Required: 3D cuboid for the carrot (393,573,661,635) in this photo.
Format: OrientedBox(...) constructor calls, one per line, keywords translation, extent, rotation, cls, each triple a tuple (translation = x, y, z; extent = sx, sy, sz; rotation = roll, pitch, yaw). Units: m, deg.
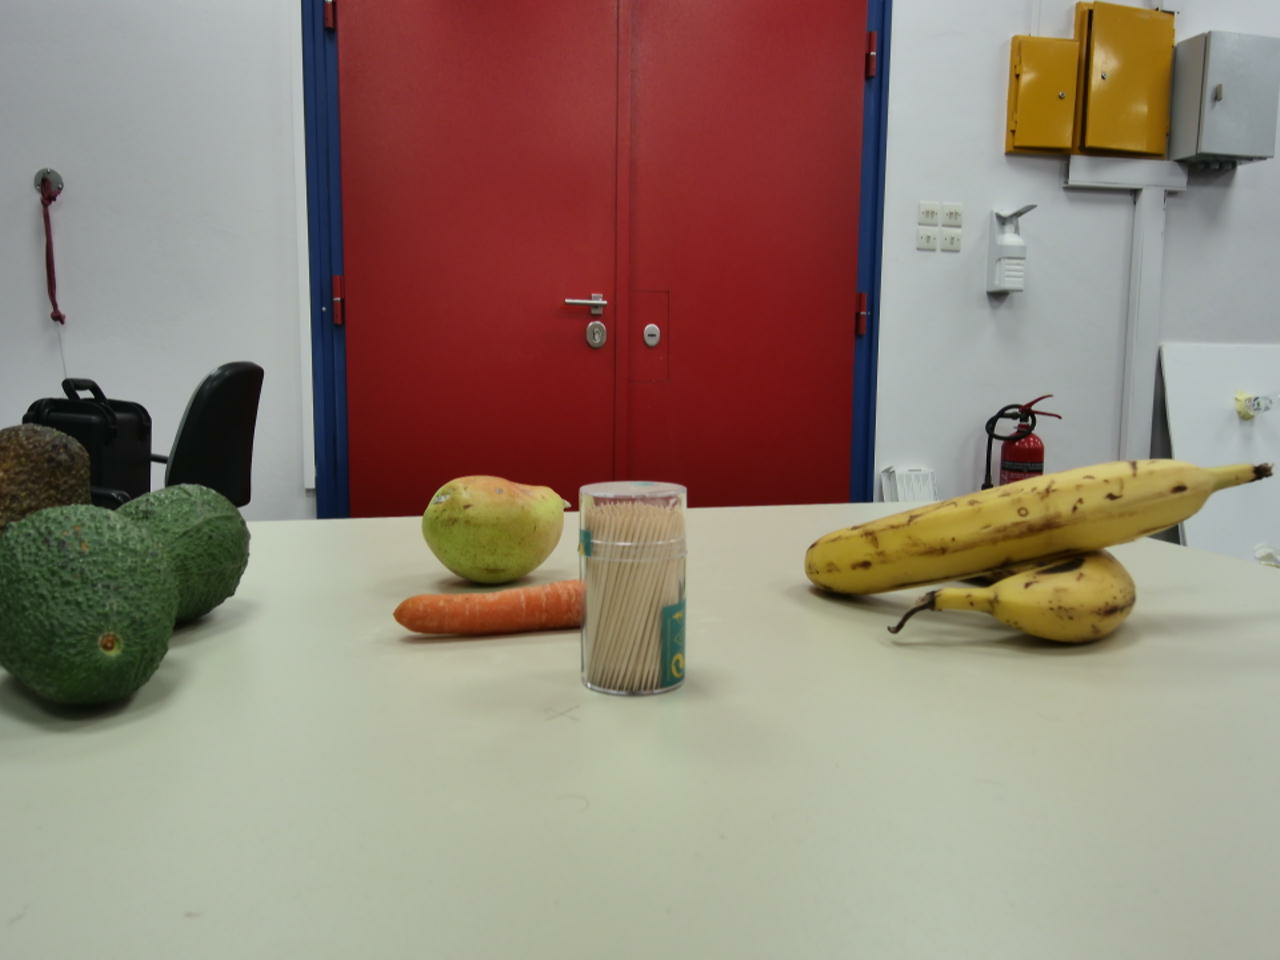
OrientedBox(translation=(-0.049, 0.057, 0.459), extent=(0.122, 0.023, 0.024), rotation=(-2, 5, -16), cls="carrot")
